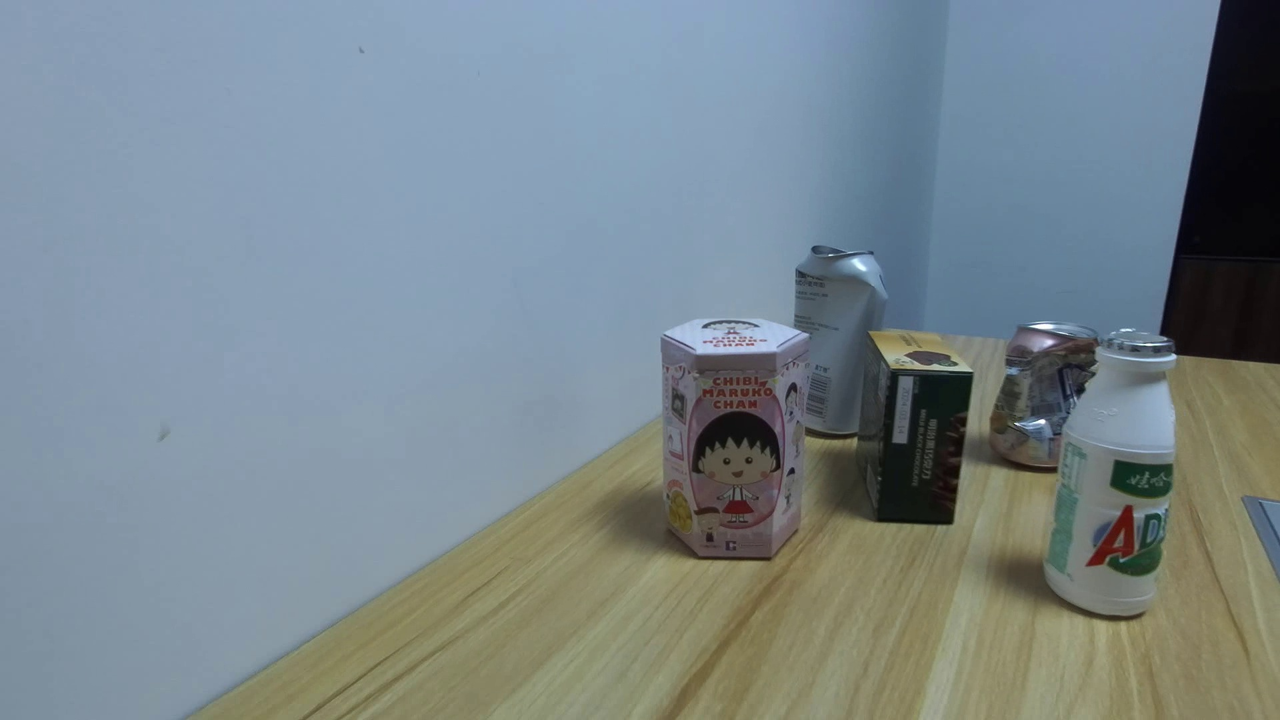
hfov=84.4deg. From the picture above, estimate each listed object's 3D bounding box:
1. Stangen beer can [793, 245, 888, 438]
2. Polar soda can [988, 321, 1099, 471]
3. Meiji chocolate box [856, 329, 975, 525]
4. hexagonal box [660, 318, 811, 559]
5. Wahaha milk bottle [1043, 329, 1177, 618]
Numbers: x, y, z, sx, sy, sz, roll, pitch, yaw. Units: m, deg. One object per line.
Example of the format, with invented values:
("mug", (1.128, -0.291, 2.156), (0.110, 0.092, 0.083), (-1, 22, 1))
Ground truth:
("Stangen beer can", (0.172, -0.016, 0.617), (0.077, 0.162, 0.066), (3, 17, 14))
("Polar soda can", (0.318, 0.027, 0.552), (0.070, 0.114, 0.074), (10, 24, 21))
("Meiji chocolate box", (0.193, 0.044, 0.507), (0.056, 0.109, 0.110), (2, 16, 10))
("hexagonal box", (0.060, 0.048, 0.450), (0.091, 0.136, 0.084), (-1, 16, 4))
("Wahaha milk bottle", (0.254, 0.066, 0.376), (0.053, 0.136, 0.053), (0, 13, 0))
